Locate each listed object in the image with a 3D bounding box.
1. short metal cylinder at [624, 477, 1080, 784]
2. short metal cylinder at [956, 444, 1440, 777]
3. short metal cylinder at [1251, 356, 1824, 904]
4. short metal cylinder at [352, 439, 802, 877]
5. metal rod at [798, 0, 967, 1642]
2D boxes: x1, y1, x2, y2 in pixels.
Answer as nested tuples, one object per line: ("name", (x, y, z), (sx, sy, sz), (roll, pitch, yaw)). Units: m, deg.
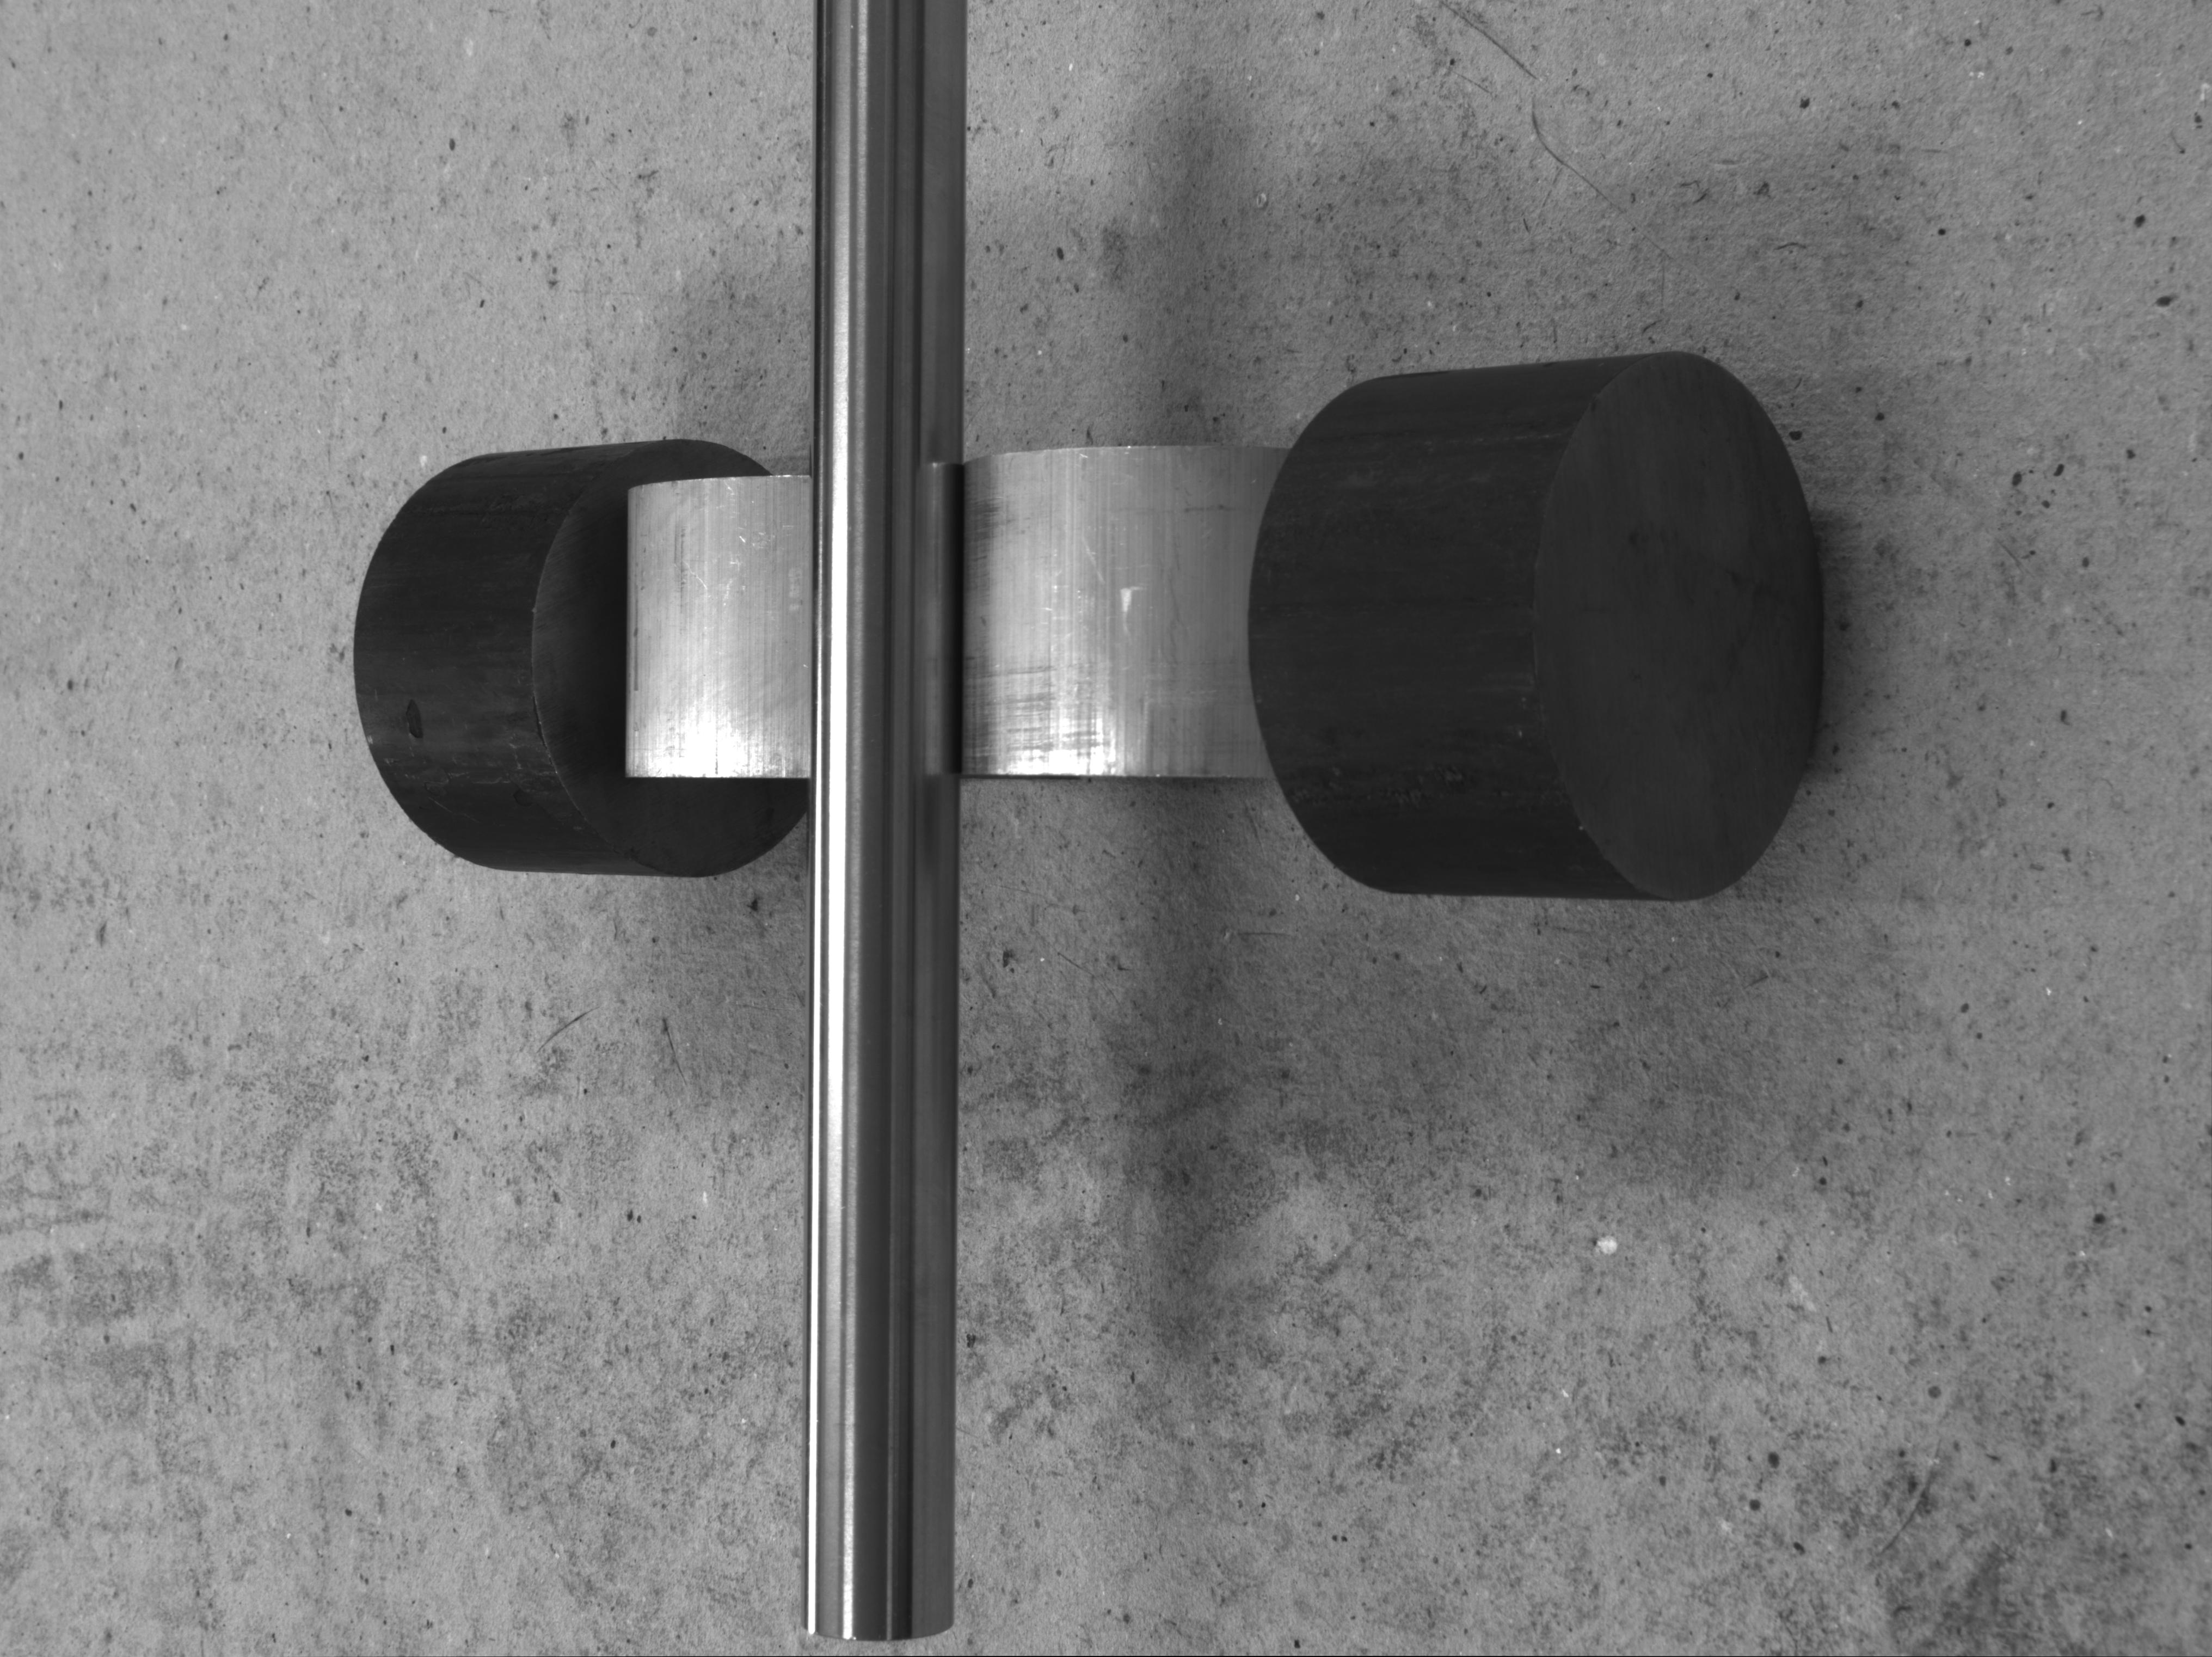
("short metal cylinder", (-0.044, -0.033, 0.647), (0.080, 0.080, 0.050), (1, 91, 40))
("short metal cylinder", (0.016, -0.033, 0.596), (0.080, 0.080, 0.050), (1, 91, 40))
("short metal cylinder", (0.066, -0.029, 0.554), (0.050, 0.080, 0.080), (1, 91, 40))
("short metal cylinder", (-0.094, -0.031, 0.689), (0.050, 0.080, 0.080), (1, 91, 40))
("metal rod", (-0.036, -0.021, 0.596), (0.025, 0.025, 0.300), (1, 91, 40))
